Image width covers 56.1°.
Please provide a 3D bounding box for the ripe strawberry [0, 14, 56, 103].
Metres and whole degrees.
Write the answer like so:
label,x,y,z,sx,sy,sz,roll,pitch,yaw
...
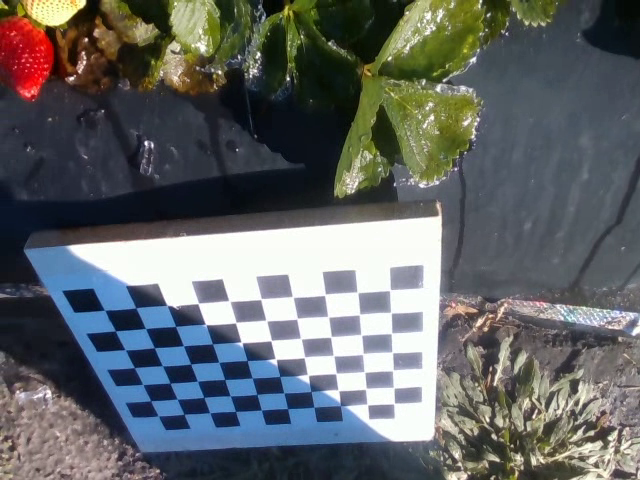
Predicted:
label,x,y,z,sx,sy,sz,roll,pitch,yaw
ripe strawberry,-0.159,-0.093,0.317,0.040,0.053,0.042,-37,-31,23
